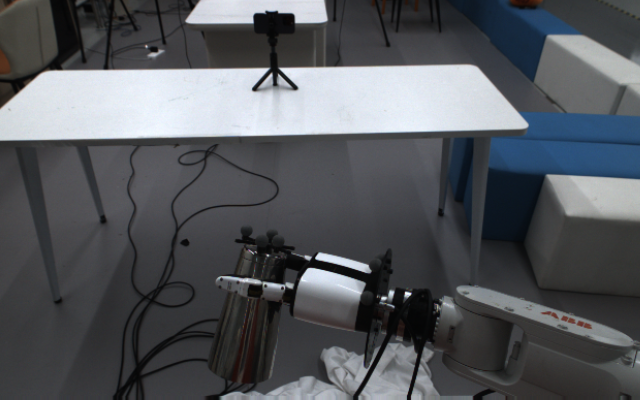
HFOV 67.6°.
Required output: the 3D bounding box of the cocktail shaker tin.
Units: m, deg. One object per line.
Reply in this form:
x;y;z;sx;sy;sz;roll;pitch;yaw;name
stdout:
-0.094;0.151;0.676;0.093;0.170;0.093;13;3;-1;cocktail shaker tin
